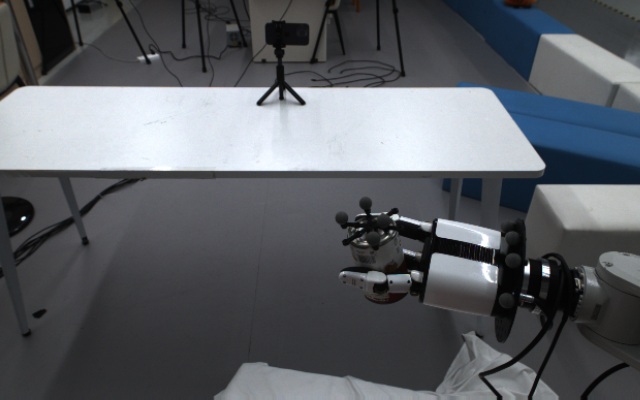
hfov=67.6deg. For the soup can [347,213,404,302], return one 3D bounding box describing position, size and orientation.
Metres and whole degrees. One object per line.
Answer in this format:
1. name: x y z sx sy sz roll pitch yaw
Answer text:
1. soup can: 0.082 0.080 0.646 0.067 0.101 0.067 -13 31 8
